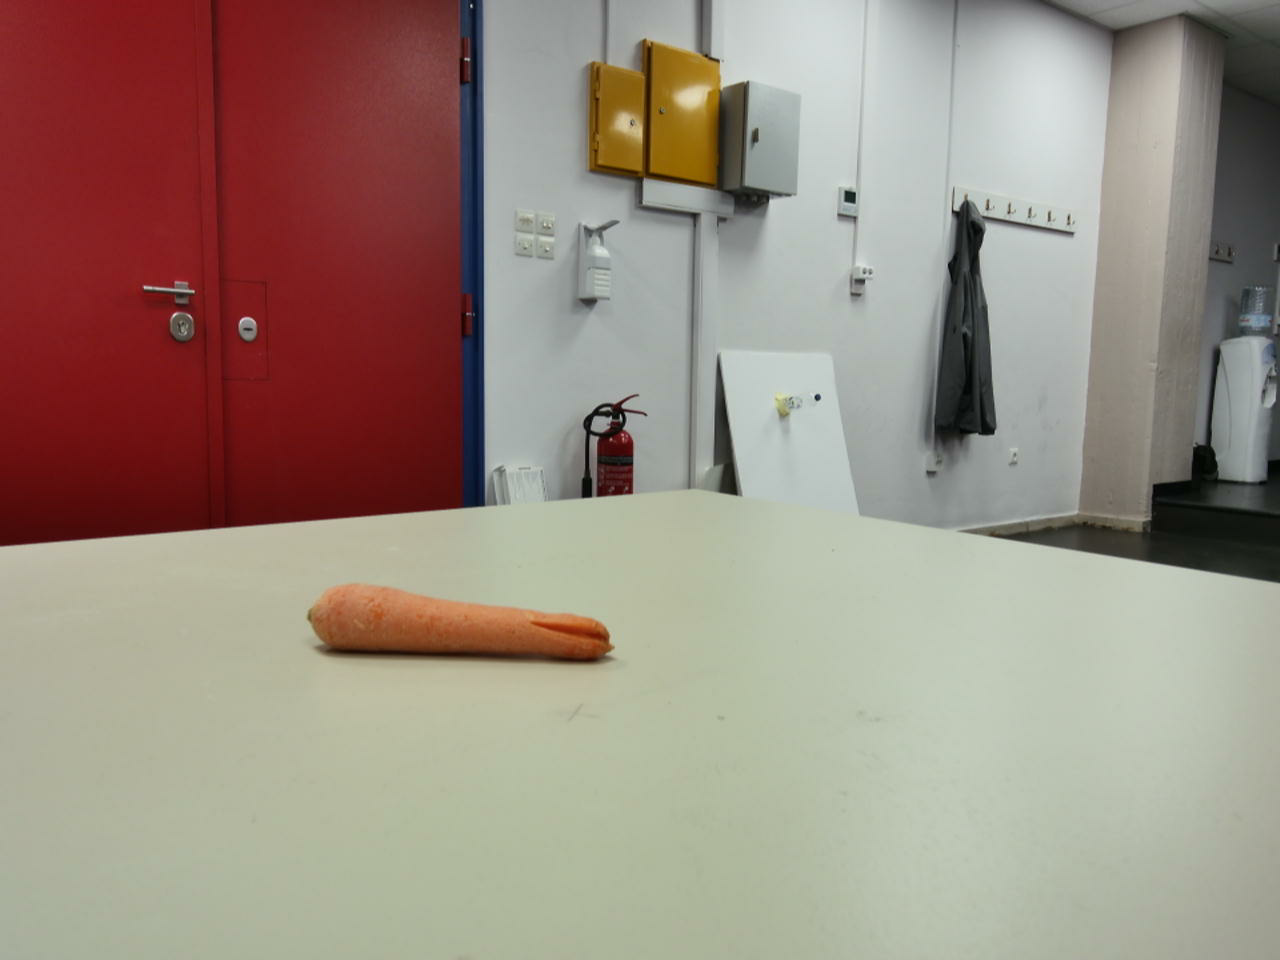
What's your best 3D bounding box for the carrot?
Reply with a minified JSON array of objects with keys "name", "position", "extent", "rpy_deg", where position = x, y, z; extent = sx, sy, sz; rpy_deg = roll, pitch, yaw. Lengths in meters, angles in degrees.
[{"name":"carrot","position":[-0.080,0.062,0.440],"extent":[0.136,0.032,0.030],"rpy_deg":[1,4,8]}]
